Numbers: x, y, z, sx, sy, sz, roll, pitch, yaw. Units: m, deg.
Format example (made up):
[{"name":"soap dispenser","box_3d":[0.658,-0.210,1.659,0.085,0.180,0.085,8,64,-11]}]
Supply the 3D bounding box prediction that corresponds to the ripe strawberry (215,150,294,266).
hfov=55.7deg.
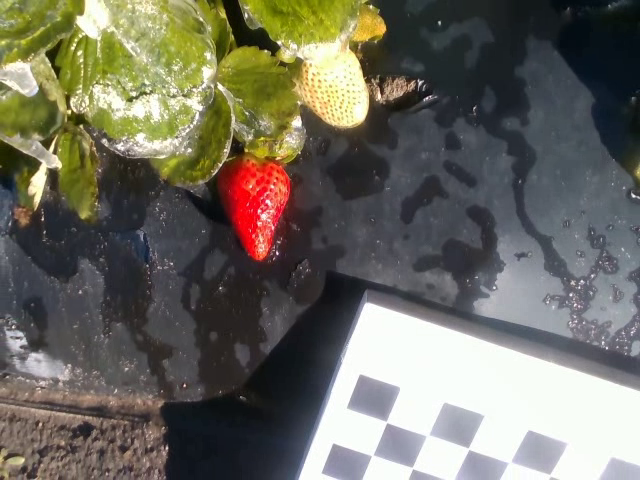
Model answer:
[{"name":"ripe strawberry","box_3d":[-0.033,-0.011,0.299,0.041,0.052,0.040,1,12,4]}]
